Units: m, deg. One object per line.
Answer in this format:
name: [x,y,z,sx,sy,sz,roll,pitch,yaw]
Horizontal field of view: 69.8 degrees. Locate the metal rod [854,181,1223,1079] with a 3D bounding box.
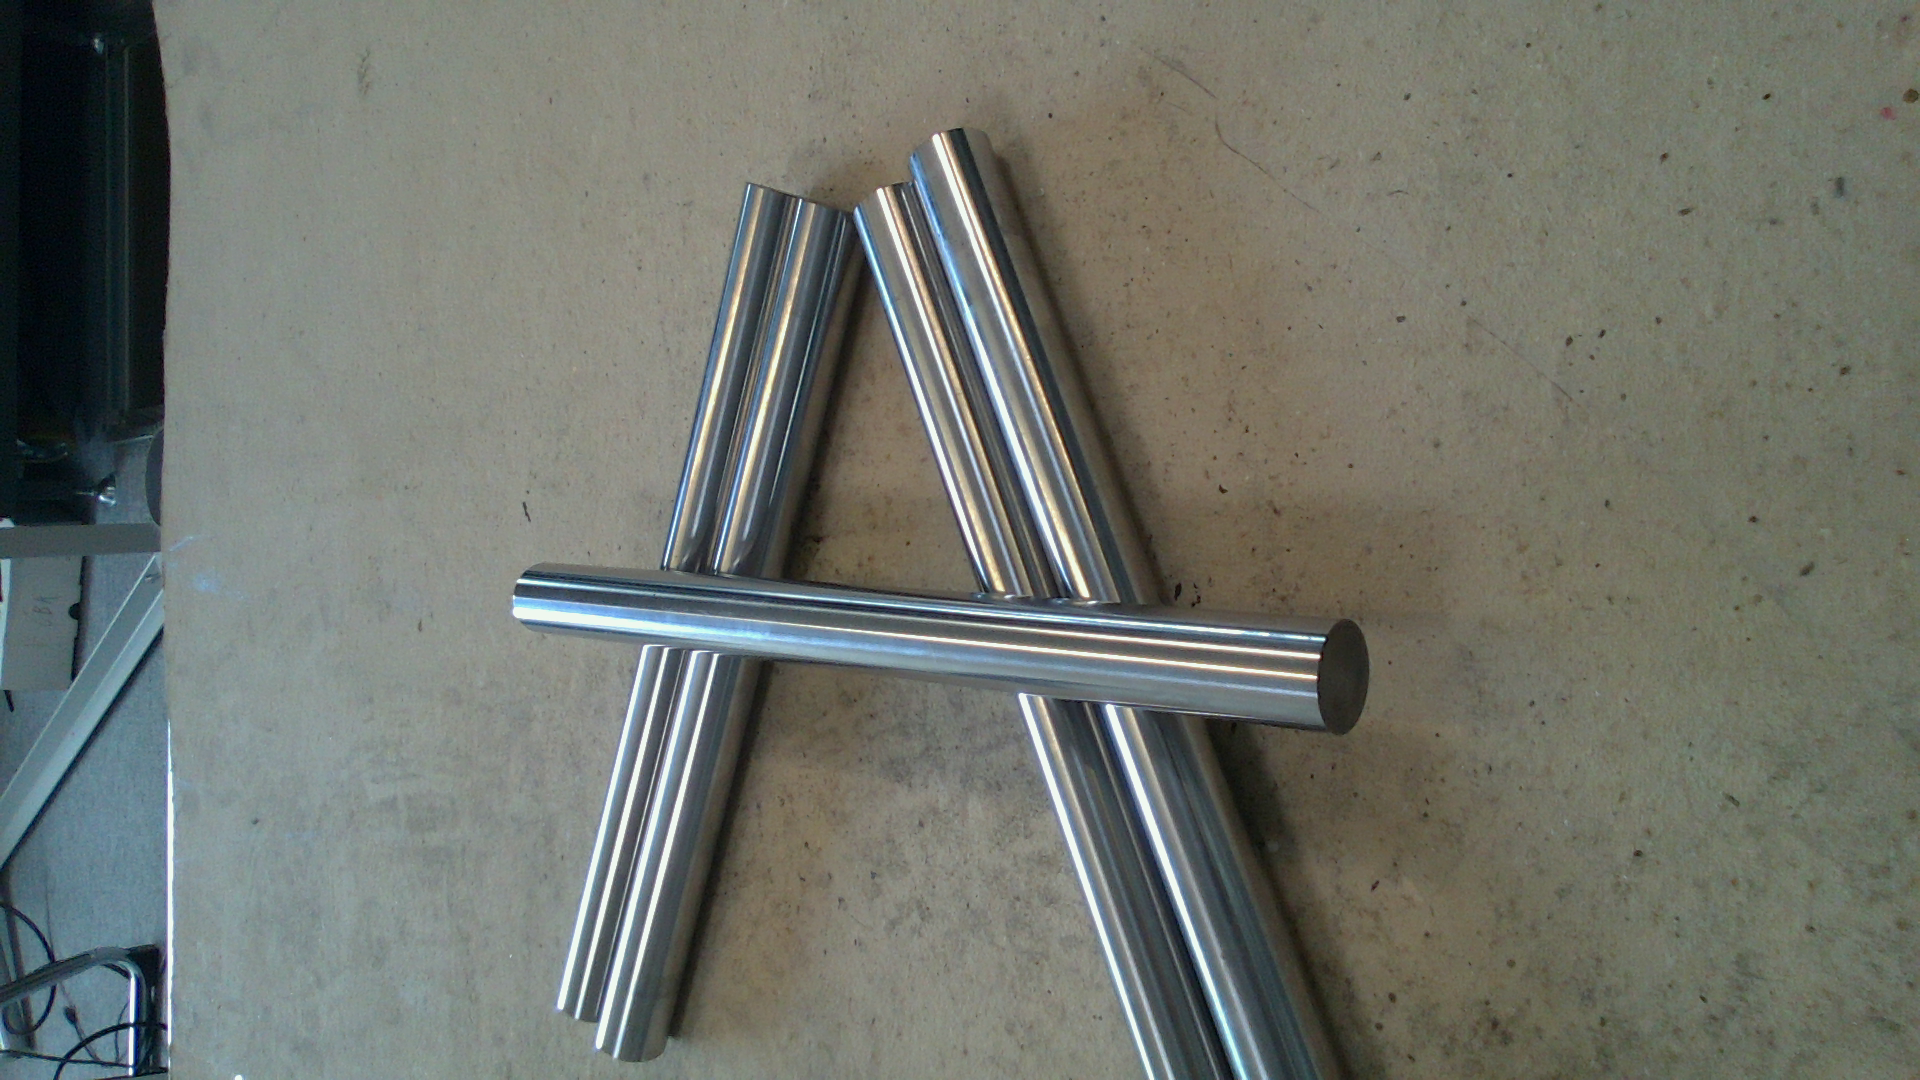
metal rod: [0.026,0.037,0.374,0.025,0.025,0.300,-30,71,36]

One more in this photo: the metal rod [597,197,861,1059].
metal rod: [-0.079,0.038,0.461,0.025,0.025,0.300,25,106,37]

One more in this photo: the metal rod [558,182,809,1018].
metal rod: [-0.096,0.029,0.476,0.025,0.025,0.300,26,106,37]

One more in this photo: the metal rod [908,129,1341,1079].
metal rod: [0.043,0.026,0.359,0.025,0.025,0.300,-30,71,36]

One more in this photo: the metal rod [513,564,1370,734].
metal rod: [-0.032,0.025,0.389,0.299,0.025,0.025,2,91,40]
